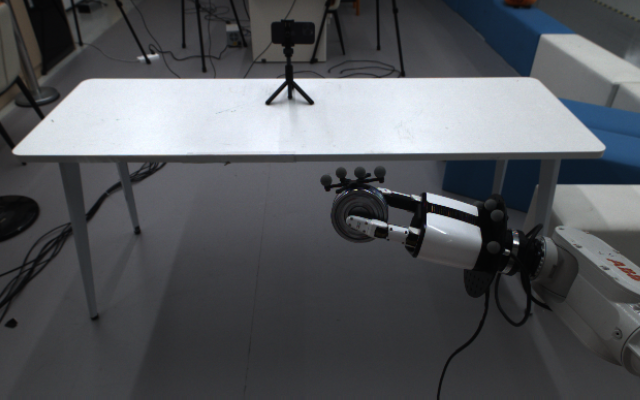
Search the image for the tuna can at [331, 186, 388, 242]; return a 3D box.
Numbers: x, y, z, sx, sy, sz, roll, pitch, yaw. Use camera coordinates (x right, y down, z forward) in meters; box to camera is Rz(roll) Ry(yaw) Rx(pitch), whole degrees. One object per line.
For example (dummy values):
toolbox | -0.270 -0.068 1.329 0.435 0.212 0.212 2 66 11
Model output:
tuna can | 0.063 0.027 0.721 0.085 0.085 0.034 6 18 5
